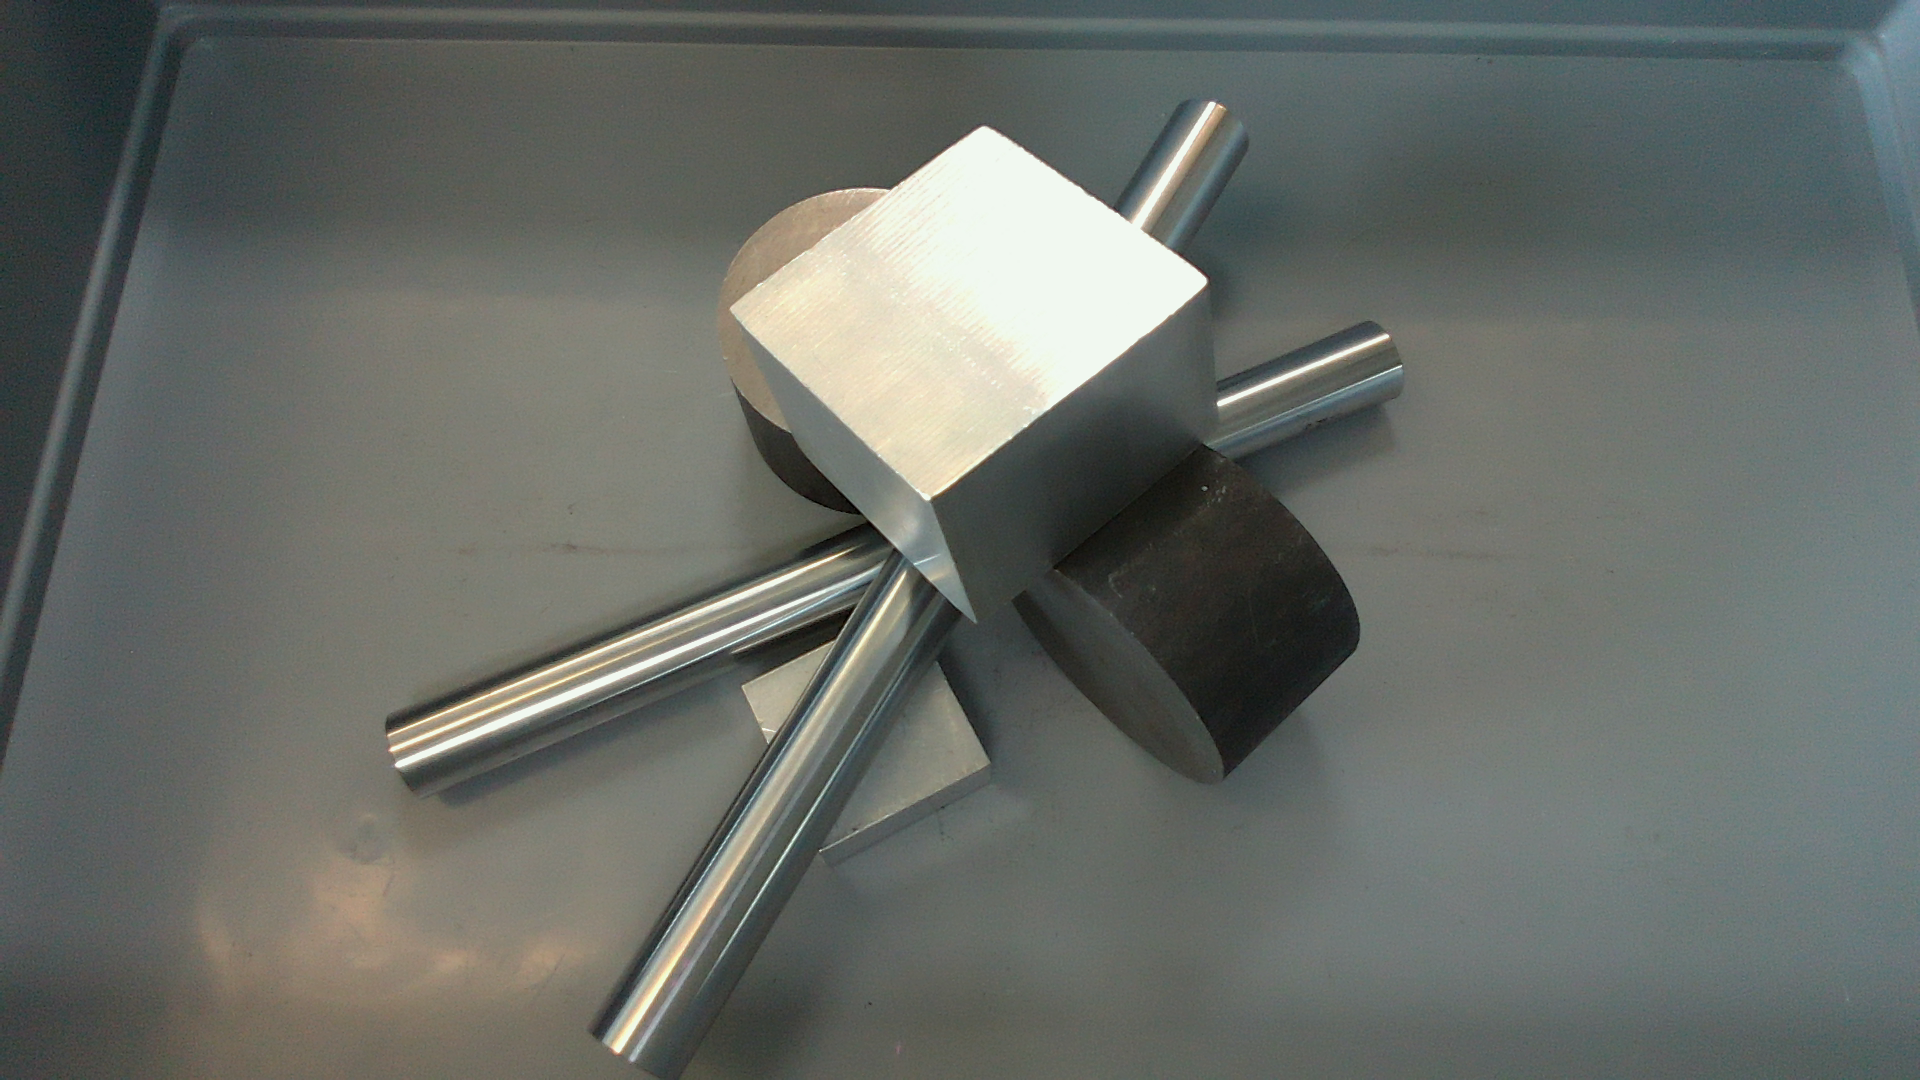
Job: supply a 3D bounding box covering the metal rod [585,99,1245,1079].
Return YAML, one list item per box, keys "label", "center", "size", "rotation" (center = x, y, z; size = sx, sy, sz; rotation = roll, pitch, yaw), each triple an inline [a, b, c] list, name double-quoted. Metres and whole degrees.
- label: "metal rod"
  center: [-0.002, -0.001, 0.368]
  size: [0.025, 0.025, 0.300]
  rotation: [29, 72, 10]

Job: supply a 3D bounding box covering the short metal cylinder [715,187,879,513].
- label: "short metal cylinder"
  center: [-0.027, -0.054, 0.400]
  size: [0.080, 0.050, 0.080]
  rotation: [0, 70, 0]

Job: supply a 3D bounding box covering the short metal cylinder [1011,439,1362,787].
- label: "short metal cylinder"
  center: [0.056, 0.017, 0.358]
  size: [0.050, 0.080, 0.080]
  rotation: [-42, 75, -13]

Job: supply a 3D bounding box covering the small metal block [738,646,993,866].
- label: "small metal block"
  center: [-0.025, 0.053, 0.374]
  size: [0.050, 0.025, 0.050]
  rotation: [-27, 72, -9]

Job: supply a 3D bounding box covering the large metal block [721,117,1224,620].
- label: "large metal block"
  center: [0.004, -0.043, 0.328]
  size: [0.080, 0.050, 0.080]
  rotation: [-38, 57, -12]

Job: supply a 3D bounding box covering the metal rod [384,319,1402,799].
- label: "metal rod"
  center: [-0.012, 0.002, 0.393]
  size: [0.300, 0.025, 0.025]
  rotation: [-22, 71, -8]
